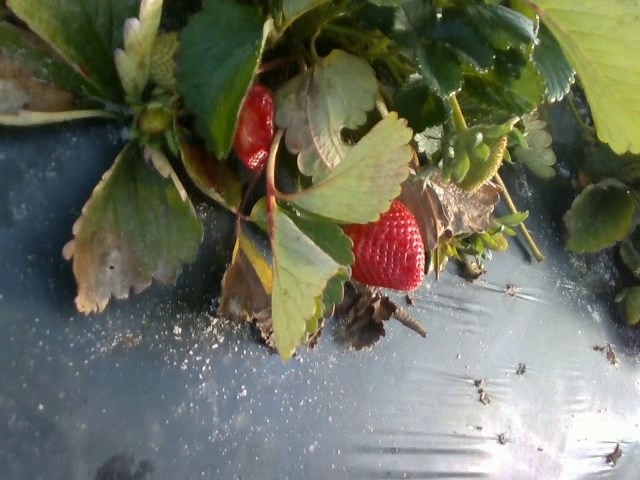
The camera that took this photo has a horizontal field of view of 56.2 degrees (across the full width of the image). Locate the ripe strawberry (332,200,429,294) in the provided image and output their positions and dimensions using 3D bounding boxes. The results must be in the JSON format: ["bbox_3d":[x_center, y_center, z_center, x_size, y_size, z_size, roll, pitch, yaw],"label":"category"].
[{"bbox_3d":[0.019,0.004,0.182,0.031,0.030,0.025,-32,-6,-29],"label":"ripe strawberry"}]
